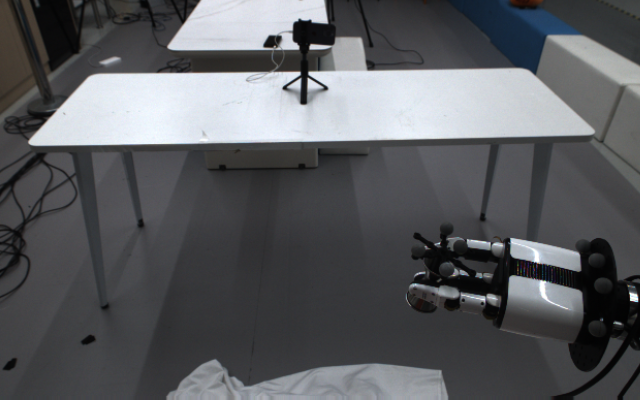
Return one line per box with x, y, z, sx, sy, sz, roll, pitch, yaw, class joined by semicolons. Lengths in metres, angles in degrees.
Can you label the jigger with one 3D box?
0.140;0.105;0.624;0.043;0.071;0.043;10;35;-7;jigger
